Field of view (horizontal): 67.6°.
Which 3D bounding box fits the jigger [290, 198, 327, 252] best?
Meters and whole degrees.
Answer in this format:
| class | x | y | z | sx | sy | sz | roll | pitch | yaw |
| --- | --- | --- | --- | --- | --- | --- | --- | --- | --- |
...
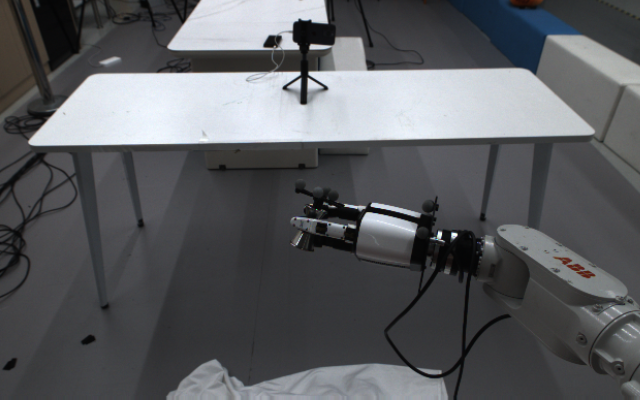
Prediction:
| class | x | y | z | sx | sy | sz | roll | pitch | yaw |
| --- | --- | --- | --- | --- | --- | --- | --- | --- | --- |
| jigger | -0.019 | 0.043 | 0.775 | 0.043 | 0.071 | 0.043 | 22 | 6 | -2 |
